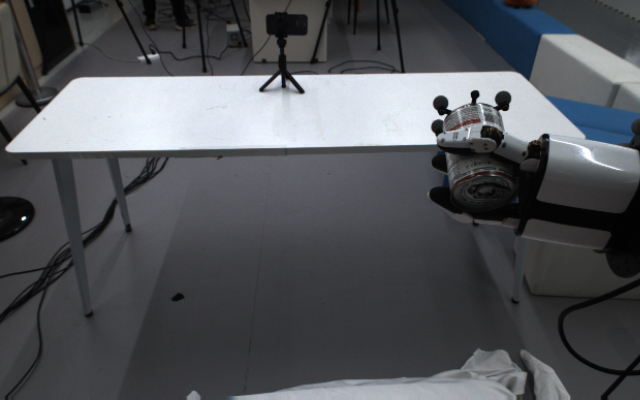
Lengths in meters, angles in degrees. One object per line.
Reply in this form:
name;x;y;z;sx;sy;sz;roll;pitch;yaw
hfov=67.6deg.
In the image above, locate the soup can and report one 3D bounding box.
soup can;0.174;-0.048;0.530;0.067;0.067;0.101;3;57;1
